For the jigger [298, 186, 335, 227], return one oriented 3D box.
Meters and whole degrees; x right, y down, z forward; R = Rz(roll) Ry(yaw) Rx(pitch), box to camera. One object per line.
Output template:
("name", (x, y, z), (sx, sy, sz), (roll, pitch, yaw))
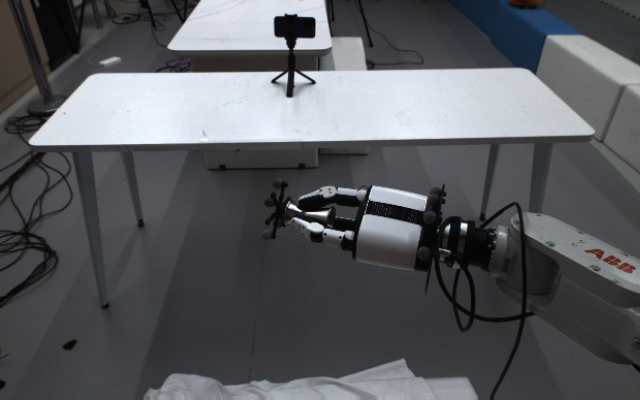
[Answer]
("jigger", (-0.009, 0.022, 0.728), (0.071, 0.043, 0.043), (11, 36, 15))
